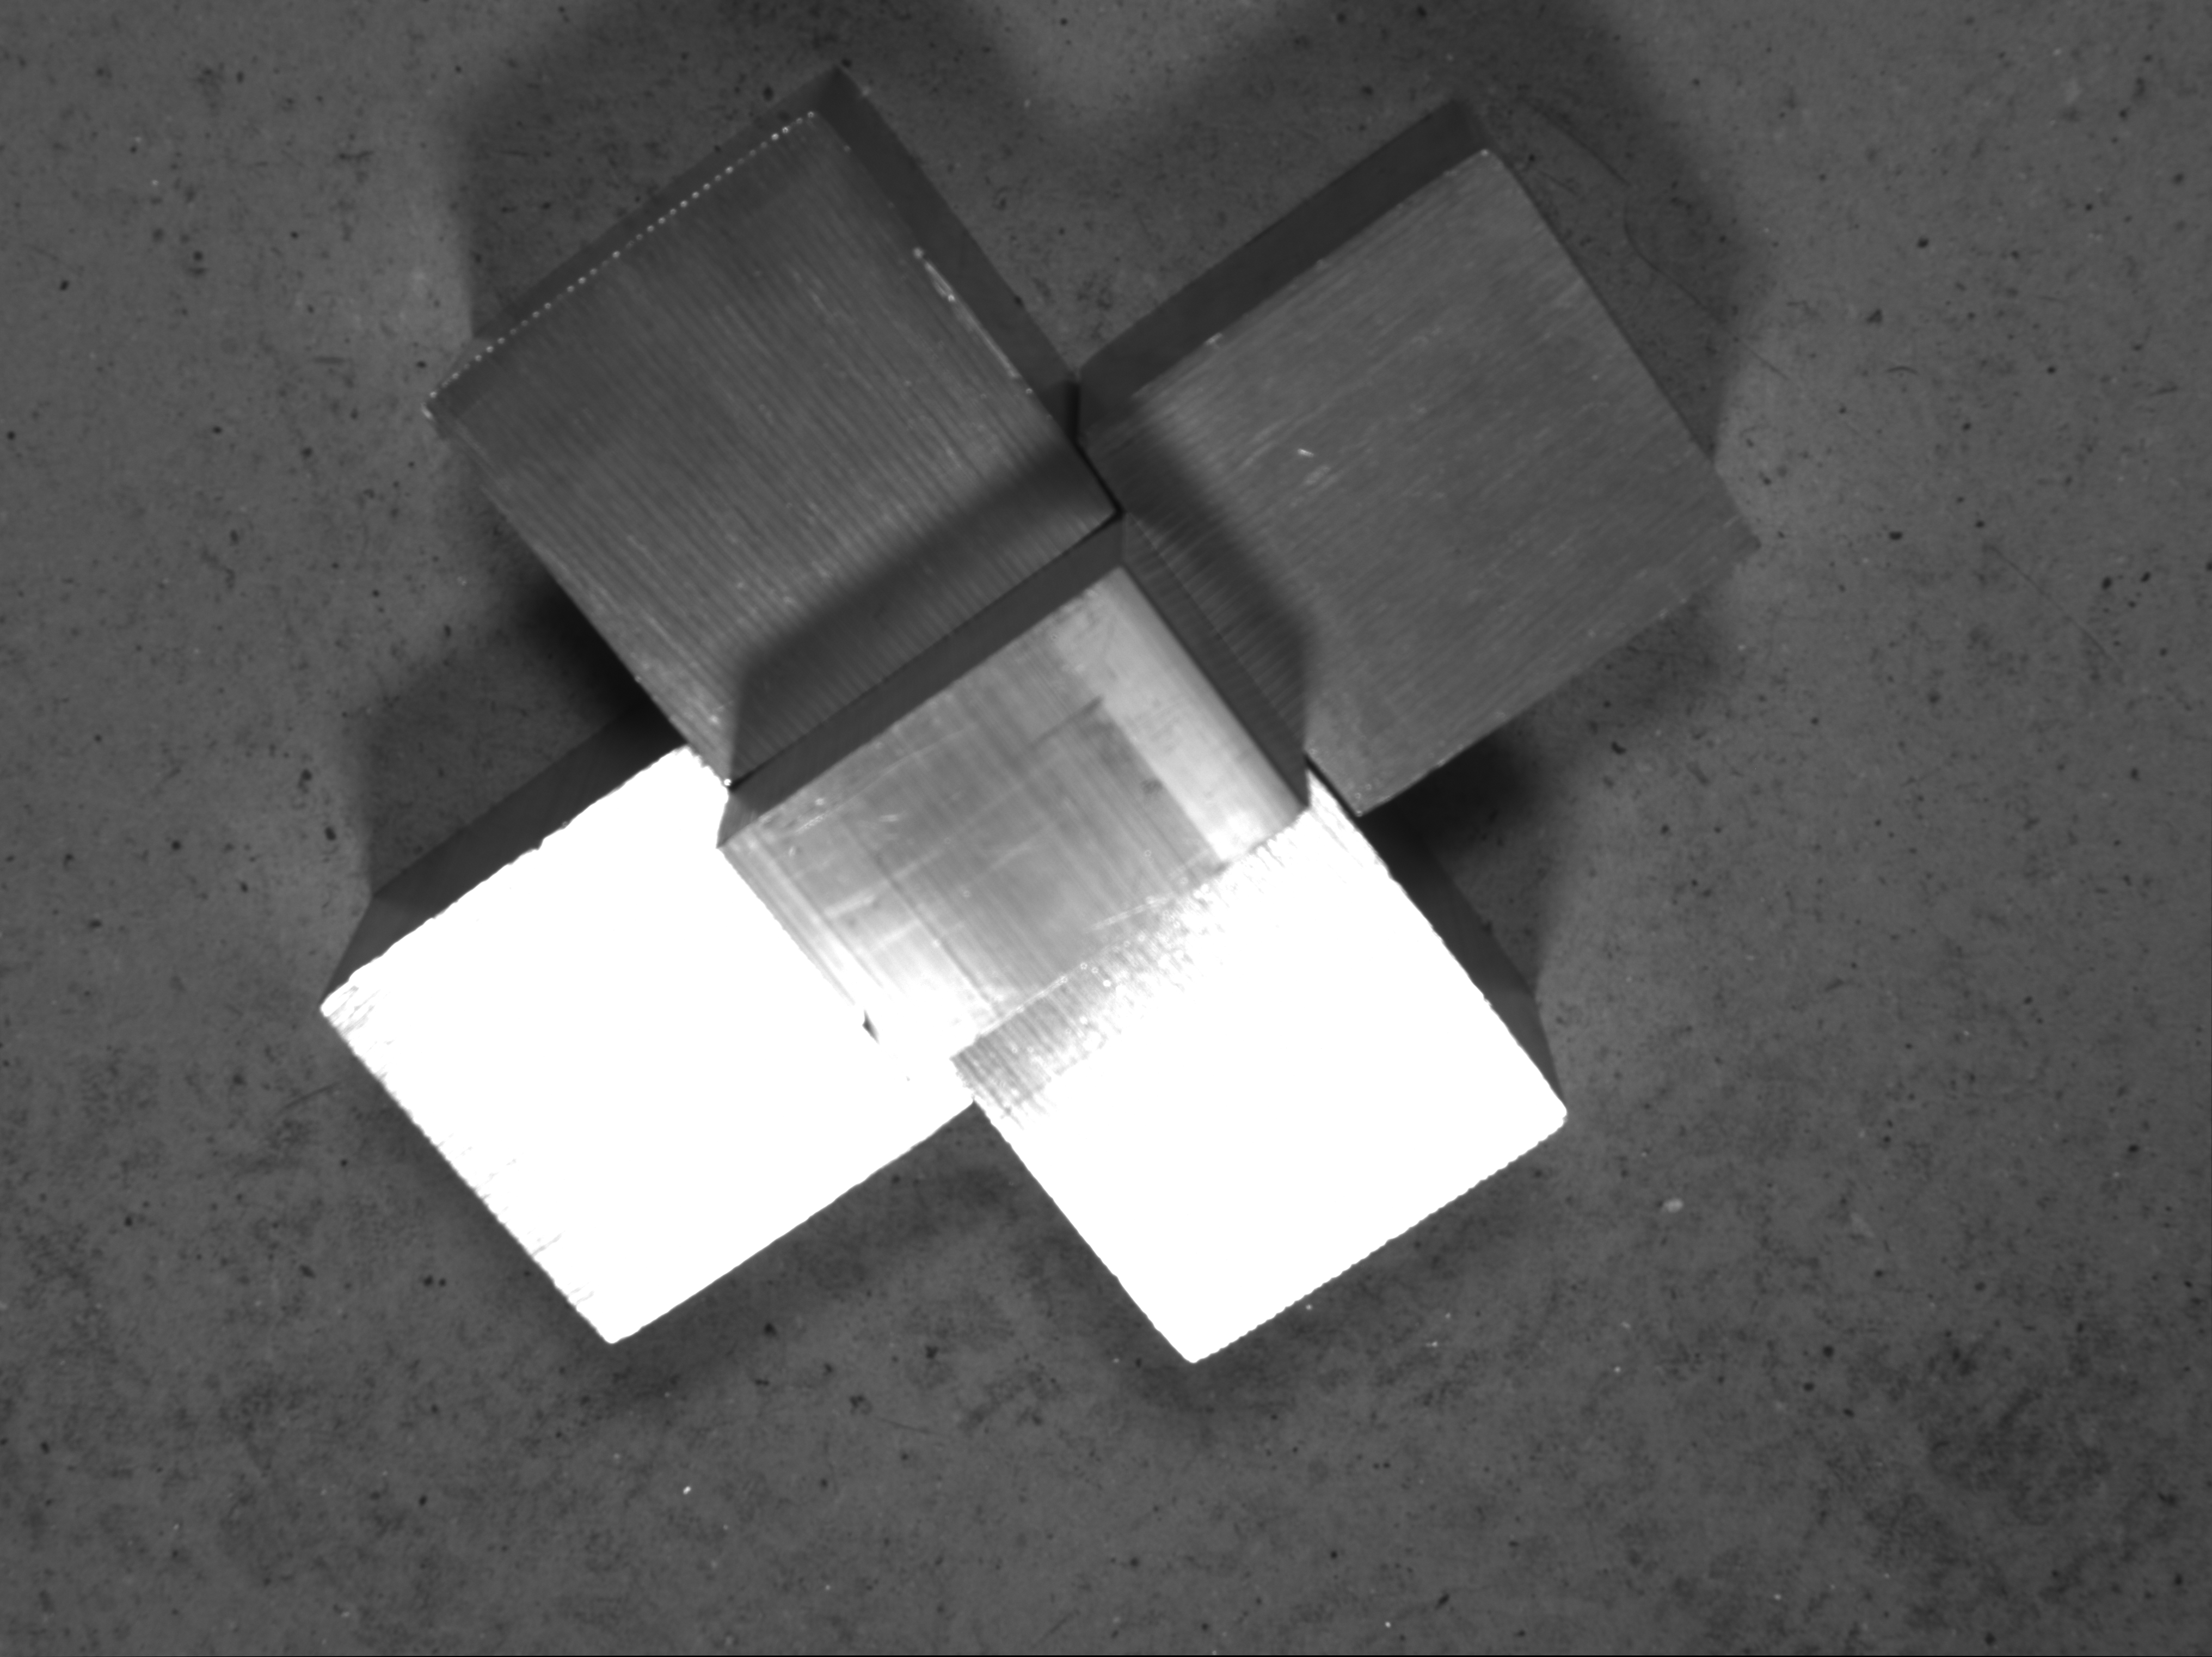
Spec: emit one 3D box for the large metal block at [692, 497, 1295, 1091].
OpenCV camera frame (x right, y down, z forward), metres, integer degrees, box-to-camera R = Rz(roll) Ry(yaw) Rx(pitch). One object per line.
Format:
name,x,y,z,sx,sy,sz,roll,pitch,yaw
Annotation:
large metal block,-0.018,-0.013,0.609,0.080,0.080,0.050,-35,107,11

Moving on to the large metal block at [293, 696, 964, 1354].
large metal block,-0.080,0.030,0.639,0.080,0.050,0.080,-35,107,11

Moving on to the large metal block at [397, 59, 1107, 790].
large metal block,-0.056,-0.067,0.604,0.080,0.050,0.080,-35,107,11

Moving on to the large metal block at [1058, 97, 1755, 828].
large metal block,0.048,-0.061,0.607,0.080,0.050,0.080,-35,107,11

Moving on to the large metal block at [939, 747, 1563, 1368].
large metal block,0.021,0.033,0.641,0.080,0.050,0.080,-35,107,11
